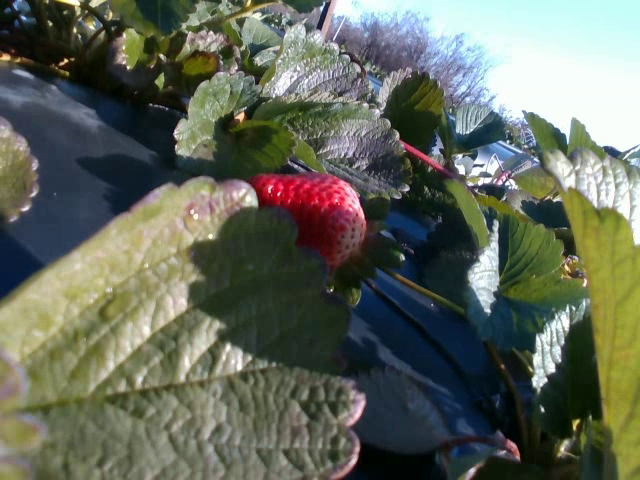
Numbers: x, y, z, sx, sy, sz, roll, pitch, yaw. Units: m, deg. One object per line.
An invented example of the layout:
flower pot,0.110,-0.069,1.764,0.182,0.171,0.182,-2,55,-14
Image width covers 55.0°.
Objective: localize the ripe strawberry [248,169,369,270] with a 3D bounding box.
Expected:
ripe strawberry,-0.007,-0.006,0.196,0.055,0.042,0.044,29,-34,-36
